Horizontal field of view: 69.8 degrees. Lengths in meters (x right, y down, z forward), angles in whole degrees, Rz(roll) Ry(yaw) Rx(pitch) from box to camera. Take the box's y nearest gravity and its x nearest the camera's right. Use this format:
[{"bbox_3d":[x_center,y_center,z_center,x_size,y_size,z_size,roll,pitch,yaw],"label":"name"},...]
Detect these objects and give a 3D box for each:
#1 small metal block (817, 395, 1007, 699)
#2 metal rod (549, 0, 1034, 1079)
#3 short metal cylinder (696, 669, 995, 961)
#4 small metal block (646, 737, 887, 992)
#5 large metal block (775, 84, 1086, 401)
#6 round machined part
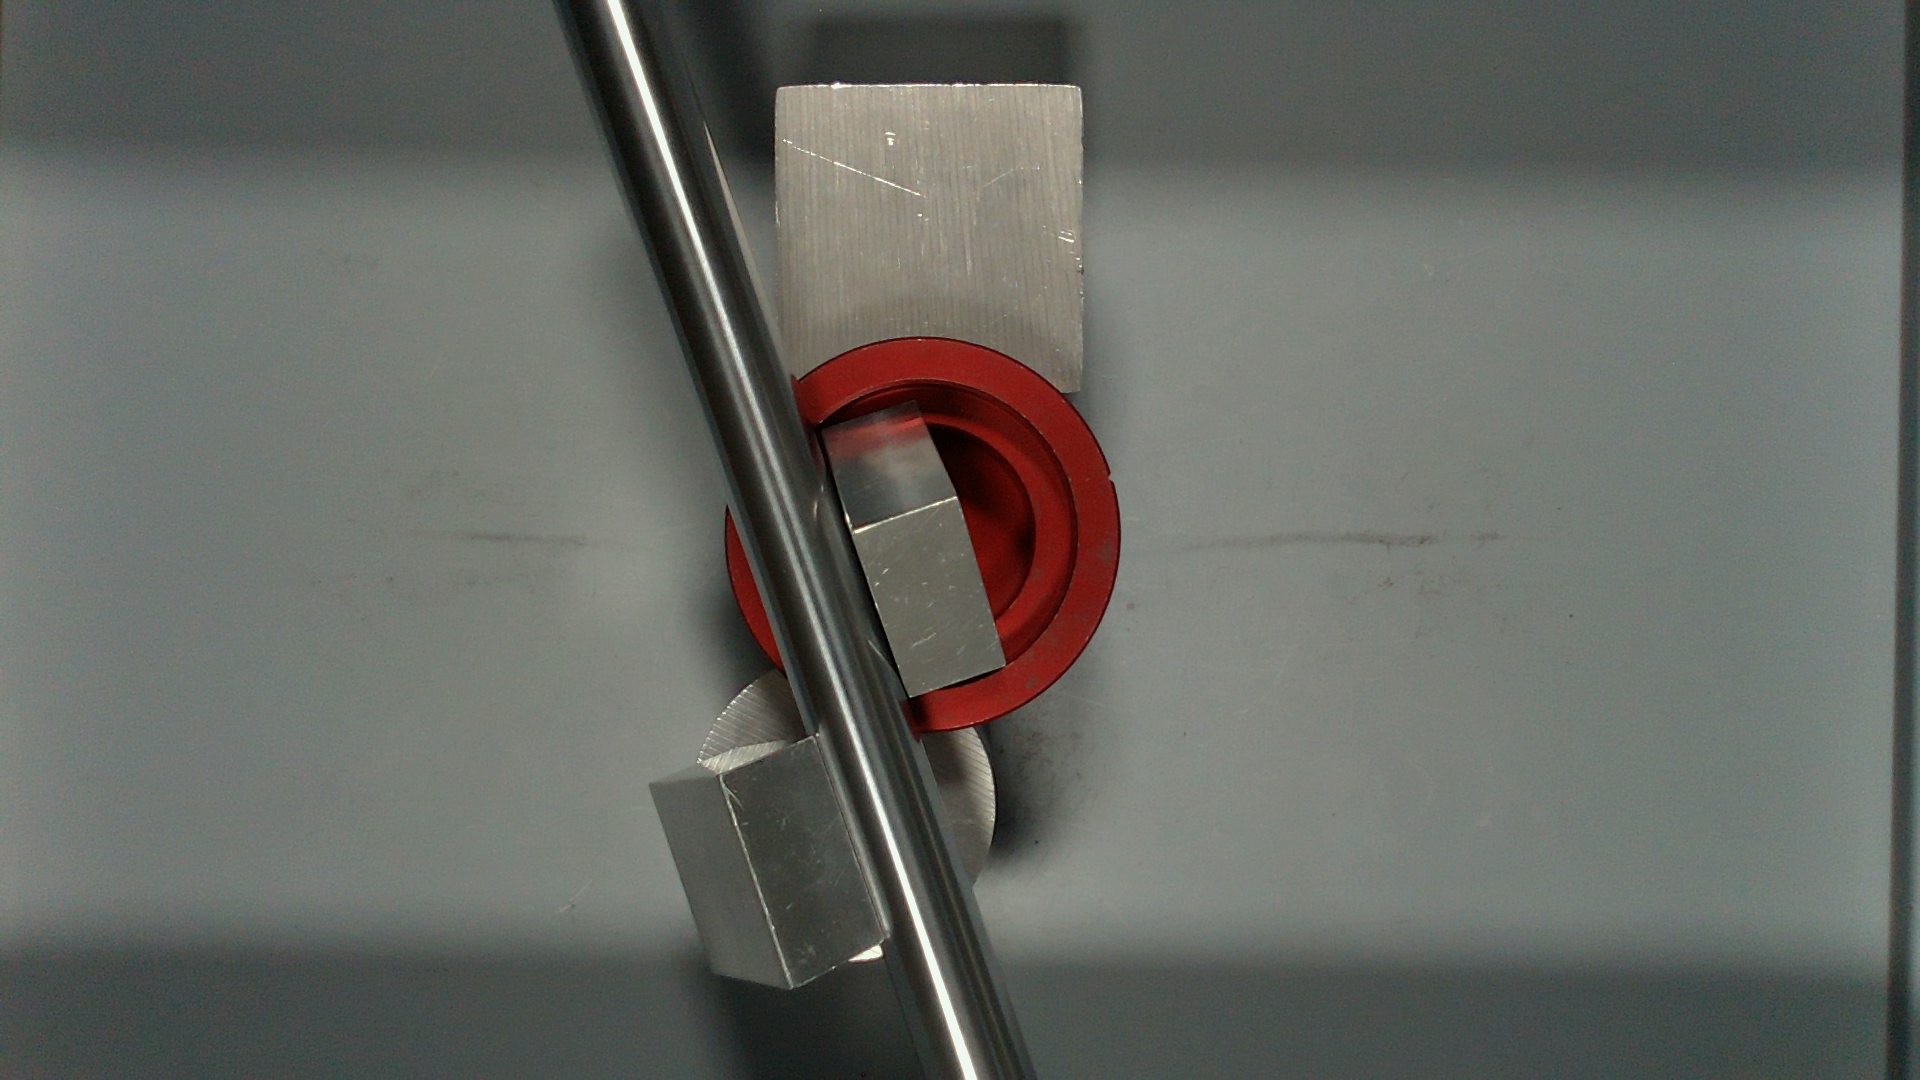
[{"bbox_3d":[-0.012,0.001,0.334,0.025,0.050,0.050,-19,125,-3],"label":"small metal block"},{"bbox_3d":[-0.041,-0.004,0.324,0.025,0.025,0.300,-19,90,0],"label":"metal rod"},{"bbox_3d":[-0.031,0.070,0.383,0.080,0.050,0.080,0,90,0],"label":"short metal cylinder"},{"bbox_3d":[-0.048,0.077,0.330,0.025,0.050,0.050,-19,89,-33],"label":"small metal block"},{"bbox_3d":[-0.007,-0.078,0.380,0.080,0.050,0.080,0,90,0],"label":"large metal block"},{"bbox_3d":[-0.009,-0.002,0.357,0.098,0.042,0.098,0,90,0],"label":"round machined part"}]
